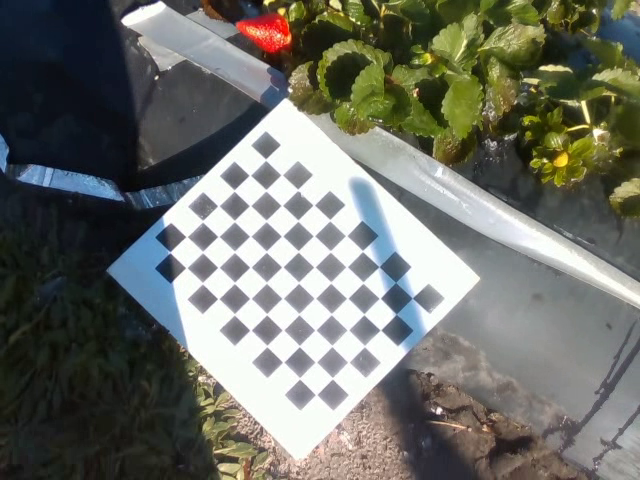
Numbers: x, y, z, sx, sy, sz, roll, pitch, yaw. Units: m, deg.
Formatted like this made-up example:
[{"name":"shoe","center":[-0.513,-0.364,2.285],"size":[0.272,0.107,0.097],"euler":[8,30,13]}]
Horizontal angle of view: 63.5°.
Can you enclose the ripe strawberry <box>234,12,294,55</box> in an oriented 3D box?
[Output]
[{"name":"ripe strawberry","center":[-0.065,-0.248,0.627],"size":[0.065,0.062,0.057],"euler":[-10,-4,-43]}]
